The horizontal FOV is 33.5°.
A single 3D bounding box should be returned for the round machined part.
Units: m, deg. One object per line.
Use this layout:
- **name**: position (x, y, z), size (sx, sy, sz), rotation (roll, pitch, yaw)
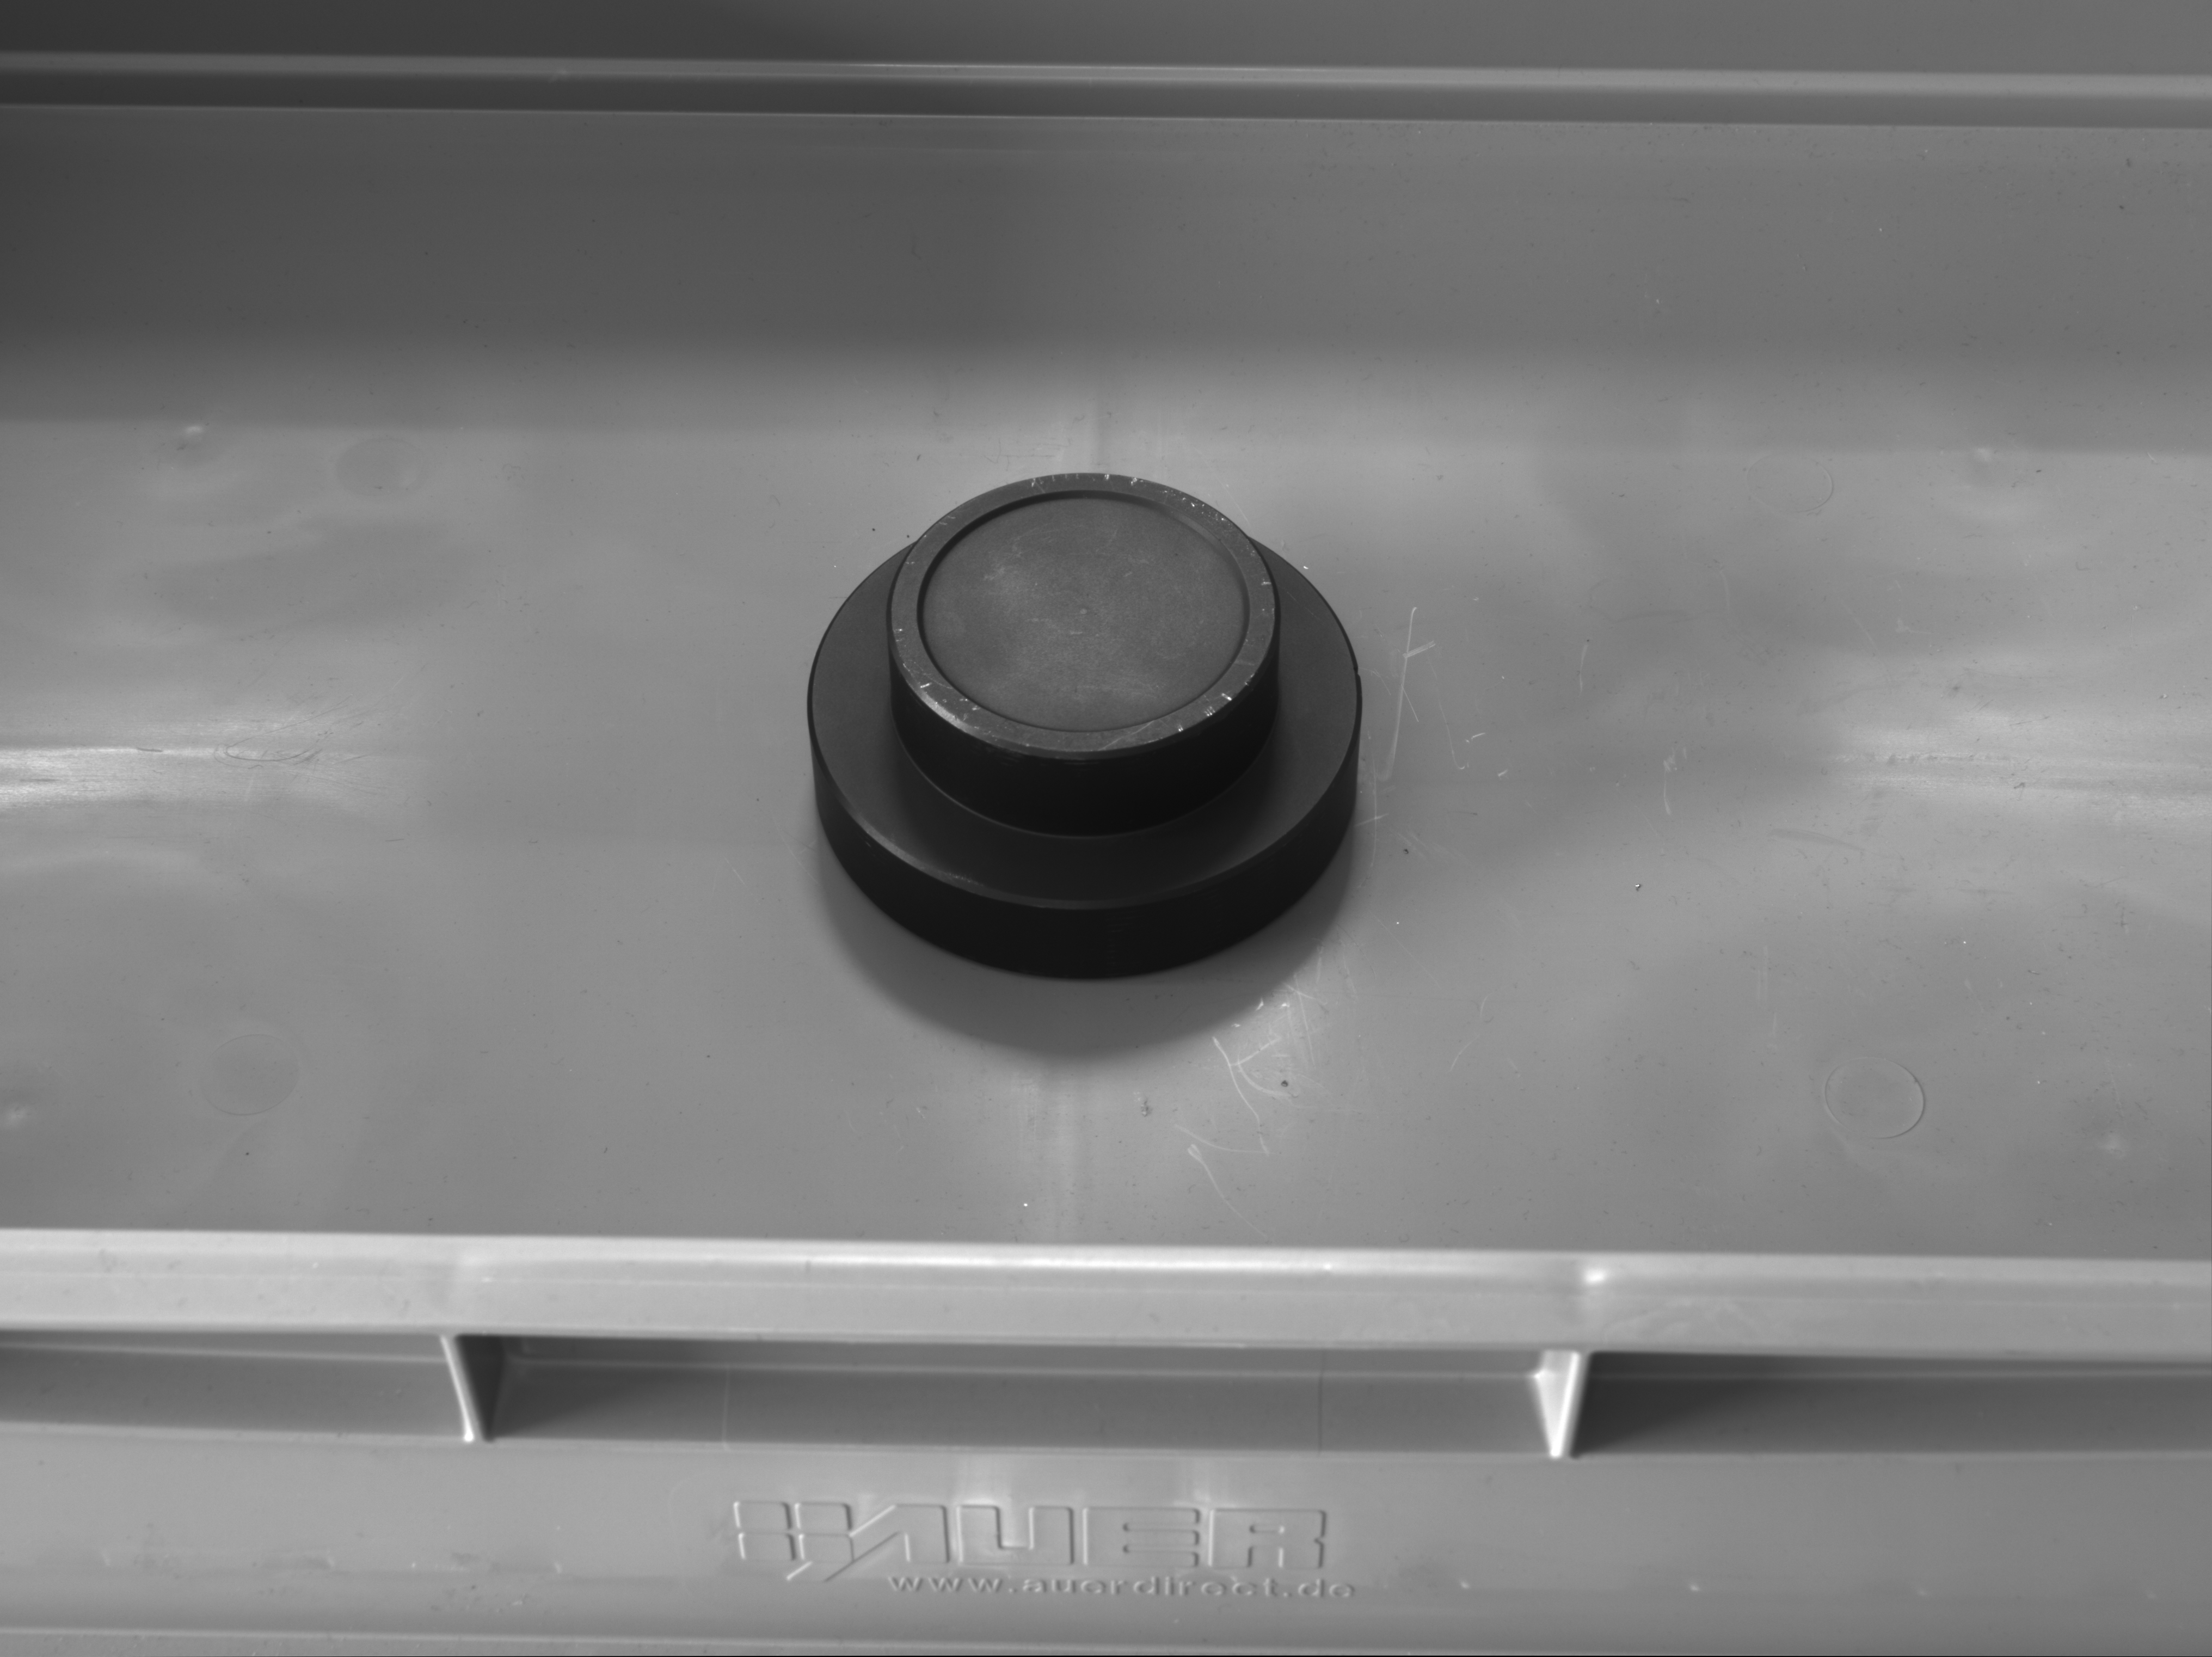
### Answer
- **round machined part**: position (-0.004, -0.024, 0.648), size (0.098, 0.042, 0.098), rotation (0, 50, 0)
